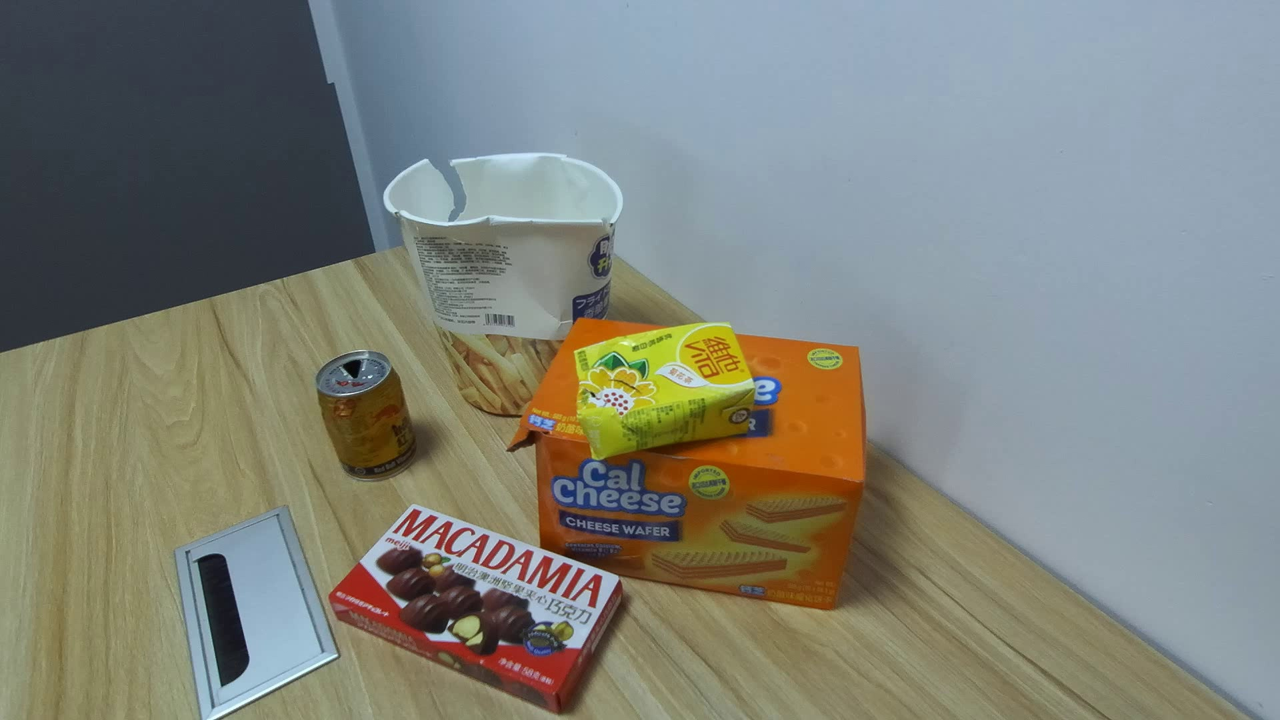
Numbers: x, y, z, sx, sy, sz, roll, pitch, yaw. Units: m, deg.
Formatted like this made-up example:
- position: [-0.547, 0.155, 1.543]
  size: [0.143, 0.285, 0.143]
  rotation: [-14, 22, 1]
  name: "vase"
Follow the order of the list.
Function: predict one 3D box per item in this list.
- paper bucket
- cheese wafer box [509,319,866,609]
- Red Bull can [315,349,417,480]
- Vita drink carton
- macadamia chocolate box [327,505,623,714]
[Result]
- position: [-0.115, -0.071, 0.656]
  size: [0.203, 0.197, 0.145]
  rotation: [0, 35, 0]
  name: "paper bucket"
- position: [0.042, 0.067, 0.520]
  size: [0.227, 0.137, 0.149]
  rotation: [7, 37, 10]
  name: "cheese wafer box"
- position: [-0.229, 0.047, 0.595]
  size: [0.068, 0.093, 0.068]
  rotation: [0, 35, 0]
  name: "Red Bull can"
- position: [0.013, 0.019, 0.449]
  size: [0.108, 0.042, 0.087]
  rotation: [-9, 45, -5]
  name: "Vita drink carton"
- position: [-0.111, 0.164, 0.485]
  size: [0.177, 0.027, 0.096]
  rotation: [14, 38, 19]
  name: "macadamia chocolate box"
